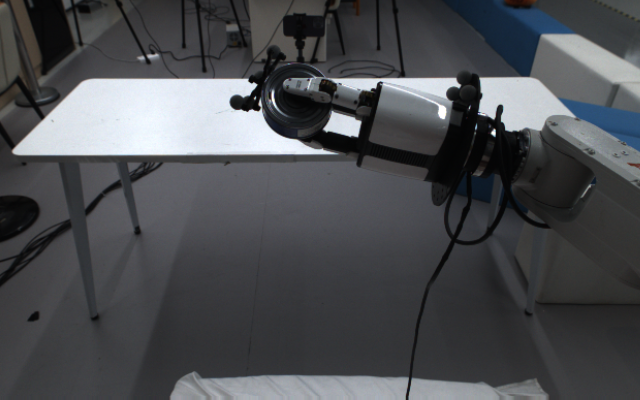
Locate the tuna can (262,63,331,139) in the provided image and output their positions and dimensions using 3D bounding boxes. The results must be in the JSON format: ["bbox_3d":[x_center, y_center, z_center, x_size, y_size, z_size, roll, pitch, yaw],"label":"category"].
[{"bbox_3d":[-0.024,-0.115,0.576,0.085,0.034,0.085,1,76,-6],"label":"tuna can"}]
